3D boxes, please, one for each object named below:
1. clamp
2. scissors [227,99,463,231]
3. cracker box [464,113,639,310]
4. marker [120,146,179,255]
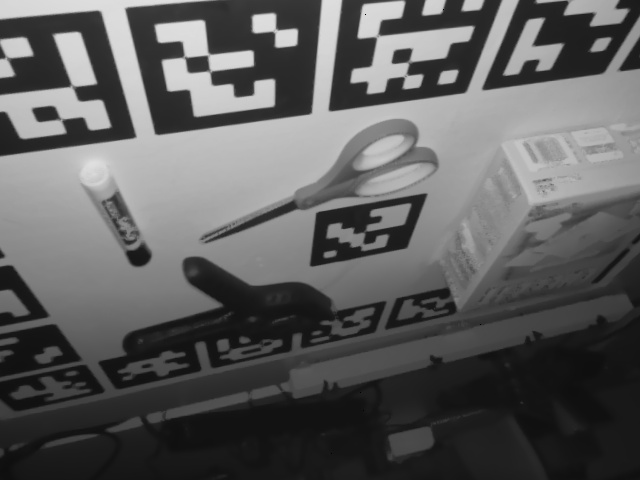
[{"bbox_3d":[-0.043,0.059,0.692,0.205,0.037,0.162,9,142,-35],"label":"clamp"},{"bbox_3d":[0.015,-0.046,0.543,0.201,0.016,0.088,-23,150,15],"label":"scissors"},{"bbox_3d":[0.244,-0.021,0.642,0.165,0.072,0.211,-9,148,-11],"label":"cracker box"},{"bbox_3d":[-0.123,-0.024,0.511,0.020,0.020,0.120,-12,149,-7],"label":"marker"}]
